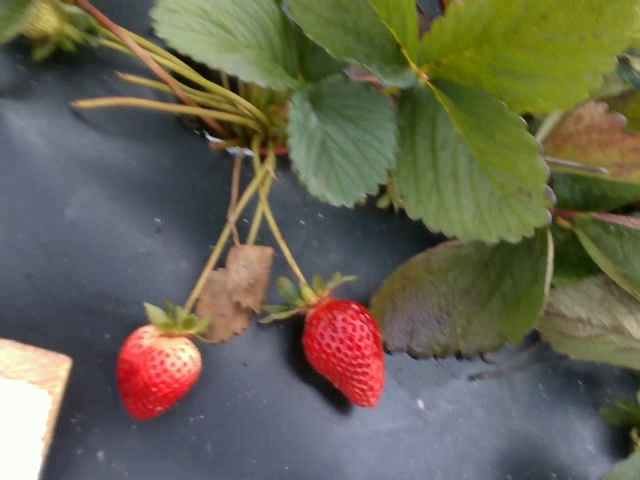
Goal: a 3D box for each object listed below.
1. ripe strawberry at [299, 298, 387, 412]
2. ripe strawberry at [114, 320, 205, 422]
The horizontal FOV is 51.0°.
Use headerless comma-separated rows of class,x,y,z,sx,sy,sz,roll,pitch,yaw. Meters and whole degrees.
ripe strawberry,0.011,0.048,0.284,0.044,0.059,0.042,-23,1,11
ripe strawberry,-0.065,0.053,0.259,0.036,0.040,0.028,20,-2,-7
